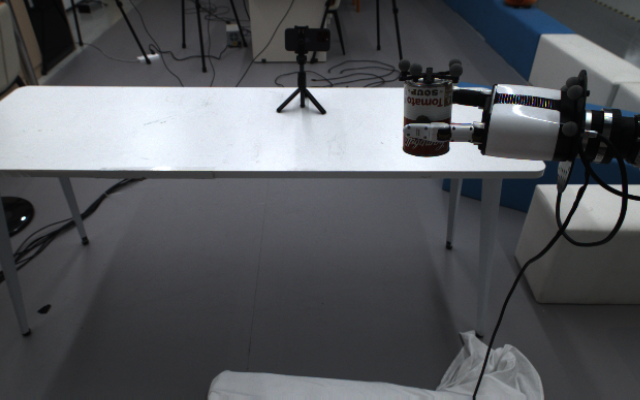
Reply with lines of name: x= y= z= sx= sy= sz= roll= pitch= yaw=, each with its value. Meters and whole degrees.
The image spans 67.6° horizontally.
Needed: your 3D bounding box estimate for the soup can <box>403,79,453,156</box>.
soup can: x=0.153 y=-0.122 z=0.686 sx=0.067 sy=0.101 sz=0.067 roll=-3 pitch=27 yaw=2
